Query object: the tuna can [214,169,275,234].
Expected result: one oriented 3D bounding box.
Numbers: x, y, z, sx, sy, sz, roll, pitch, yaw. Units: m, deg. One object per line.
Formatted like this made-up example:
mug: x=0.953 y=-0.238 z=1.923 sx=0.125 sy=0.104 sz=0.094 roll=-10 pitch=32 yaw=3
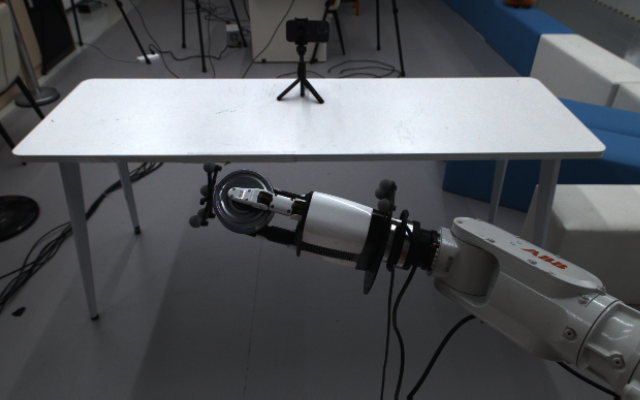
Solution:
tuna can: x=-0.102 y=0.001 z=0.667 sx=0.085 sy=0.034 sz=0.085 roll=1 pitch=74 yaw=-5
